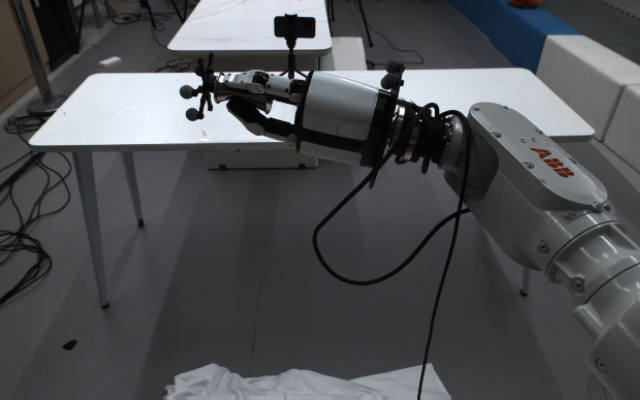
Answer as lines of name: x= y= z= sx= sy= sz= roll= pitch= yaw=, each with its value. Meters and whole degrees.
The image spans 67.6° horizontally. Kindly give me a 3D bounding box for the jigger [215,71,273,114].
jigger: x=-0.090 y=-0.141 z=0.620 sx=0.071 sy=0.043 sz=0.043 roll=11 pitch=35 yaw=3
